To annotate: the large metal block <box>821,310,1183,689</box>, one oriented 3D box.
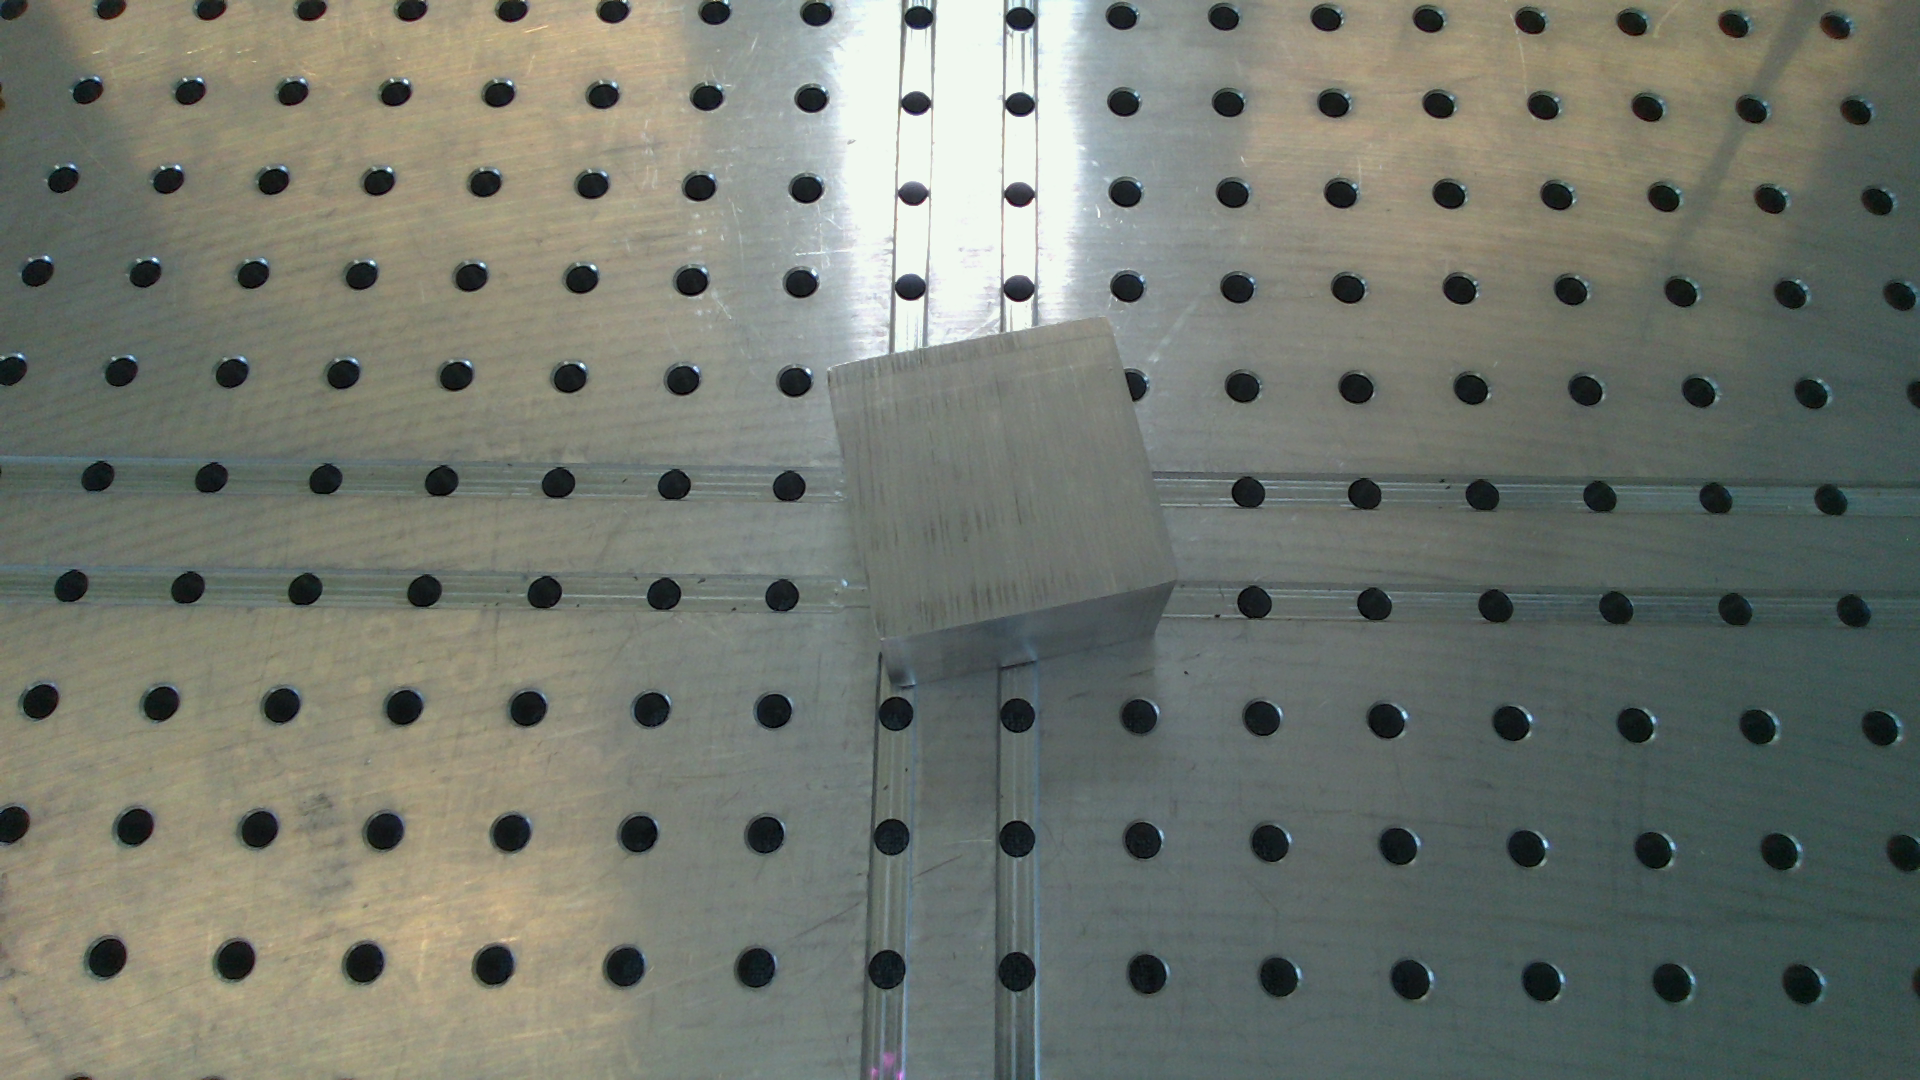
[{"bbox_3d":[0.010,-0.010,0.387,0.080,0.050,0.080,-11,71,-4],"label":"large metal block"}]
